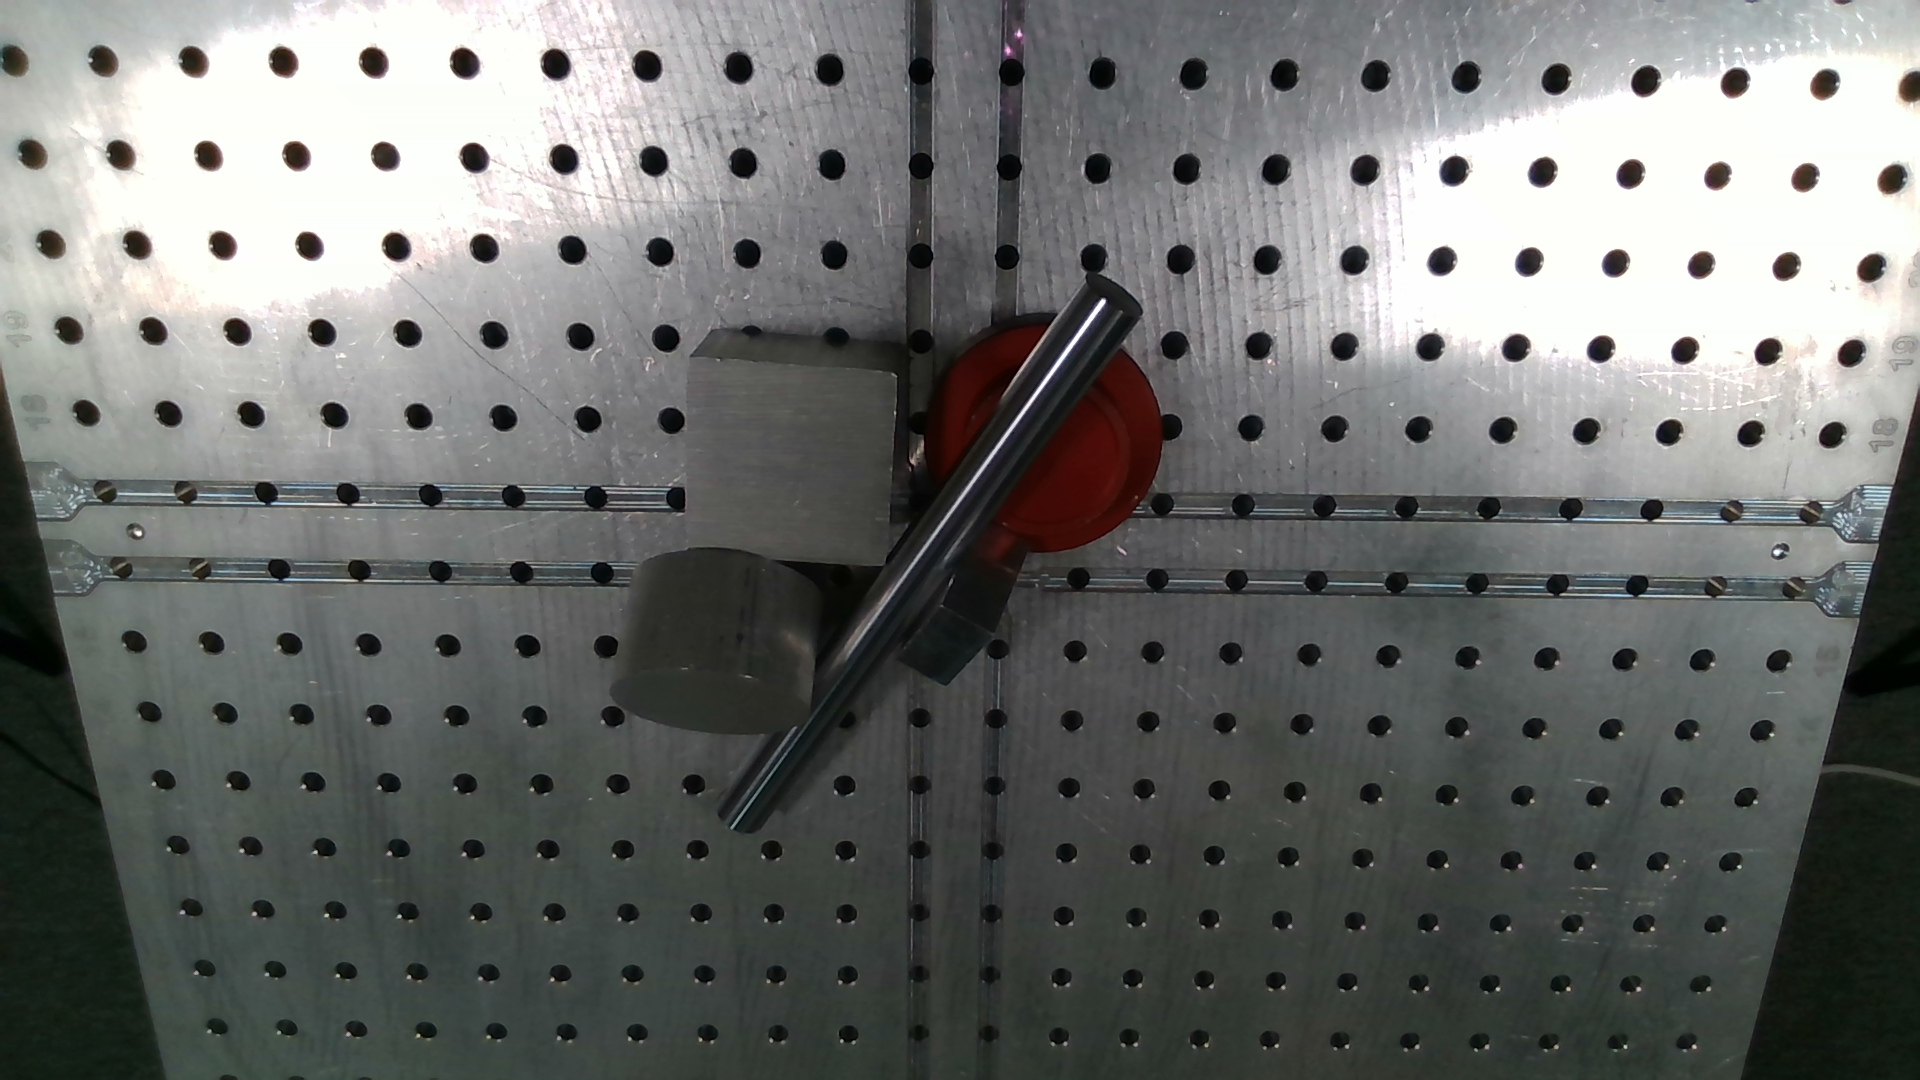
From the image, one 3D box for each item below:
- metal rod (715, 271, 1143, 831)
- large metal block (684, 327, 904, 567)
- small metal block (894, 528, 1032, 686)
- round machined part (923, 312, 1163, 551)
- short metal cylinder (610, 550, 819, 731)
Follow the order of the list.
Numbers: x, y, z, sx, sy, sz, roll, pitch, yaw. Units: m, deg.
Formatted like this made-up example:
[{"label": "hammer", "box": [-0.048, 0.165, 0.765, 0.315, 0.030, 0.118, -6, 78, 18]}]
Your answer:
[{"label": "metal rod", "box": [-0.023, 0.018, 0.559, 0.025, 0.025, 0.301, 31, 120, -10]}, {"label": "large metal block", "box": [-0.066, -0.038, 0.557, 0.080, 0.050, 0.080, 4, 110, -2]}, {"label": "small metal block", "box": [0.001, 0.025, 0.573, 0.025, 0.050, 0.050, 30, 142, -7]}, {"label": "round machined part", "box": [0.034, -0.041, 0.563, 0.098, 0.042, 0.098, 0, 110, 0]}, {"label": "short metal cylinder", "box": [-0.100, 0.044, 0.567, 0.080, 0.050, 0.080, 3, 155, 1]}]
